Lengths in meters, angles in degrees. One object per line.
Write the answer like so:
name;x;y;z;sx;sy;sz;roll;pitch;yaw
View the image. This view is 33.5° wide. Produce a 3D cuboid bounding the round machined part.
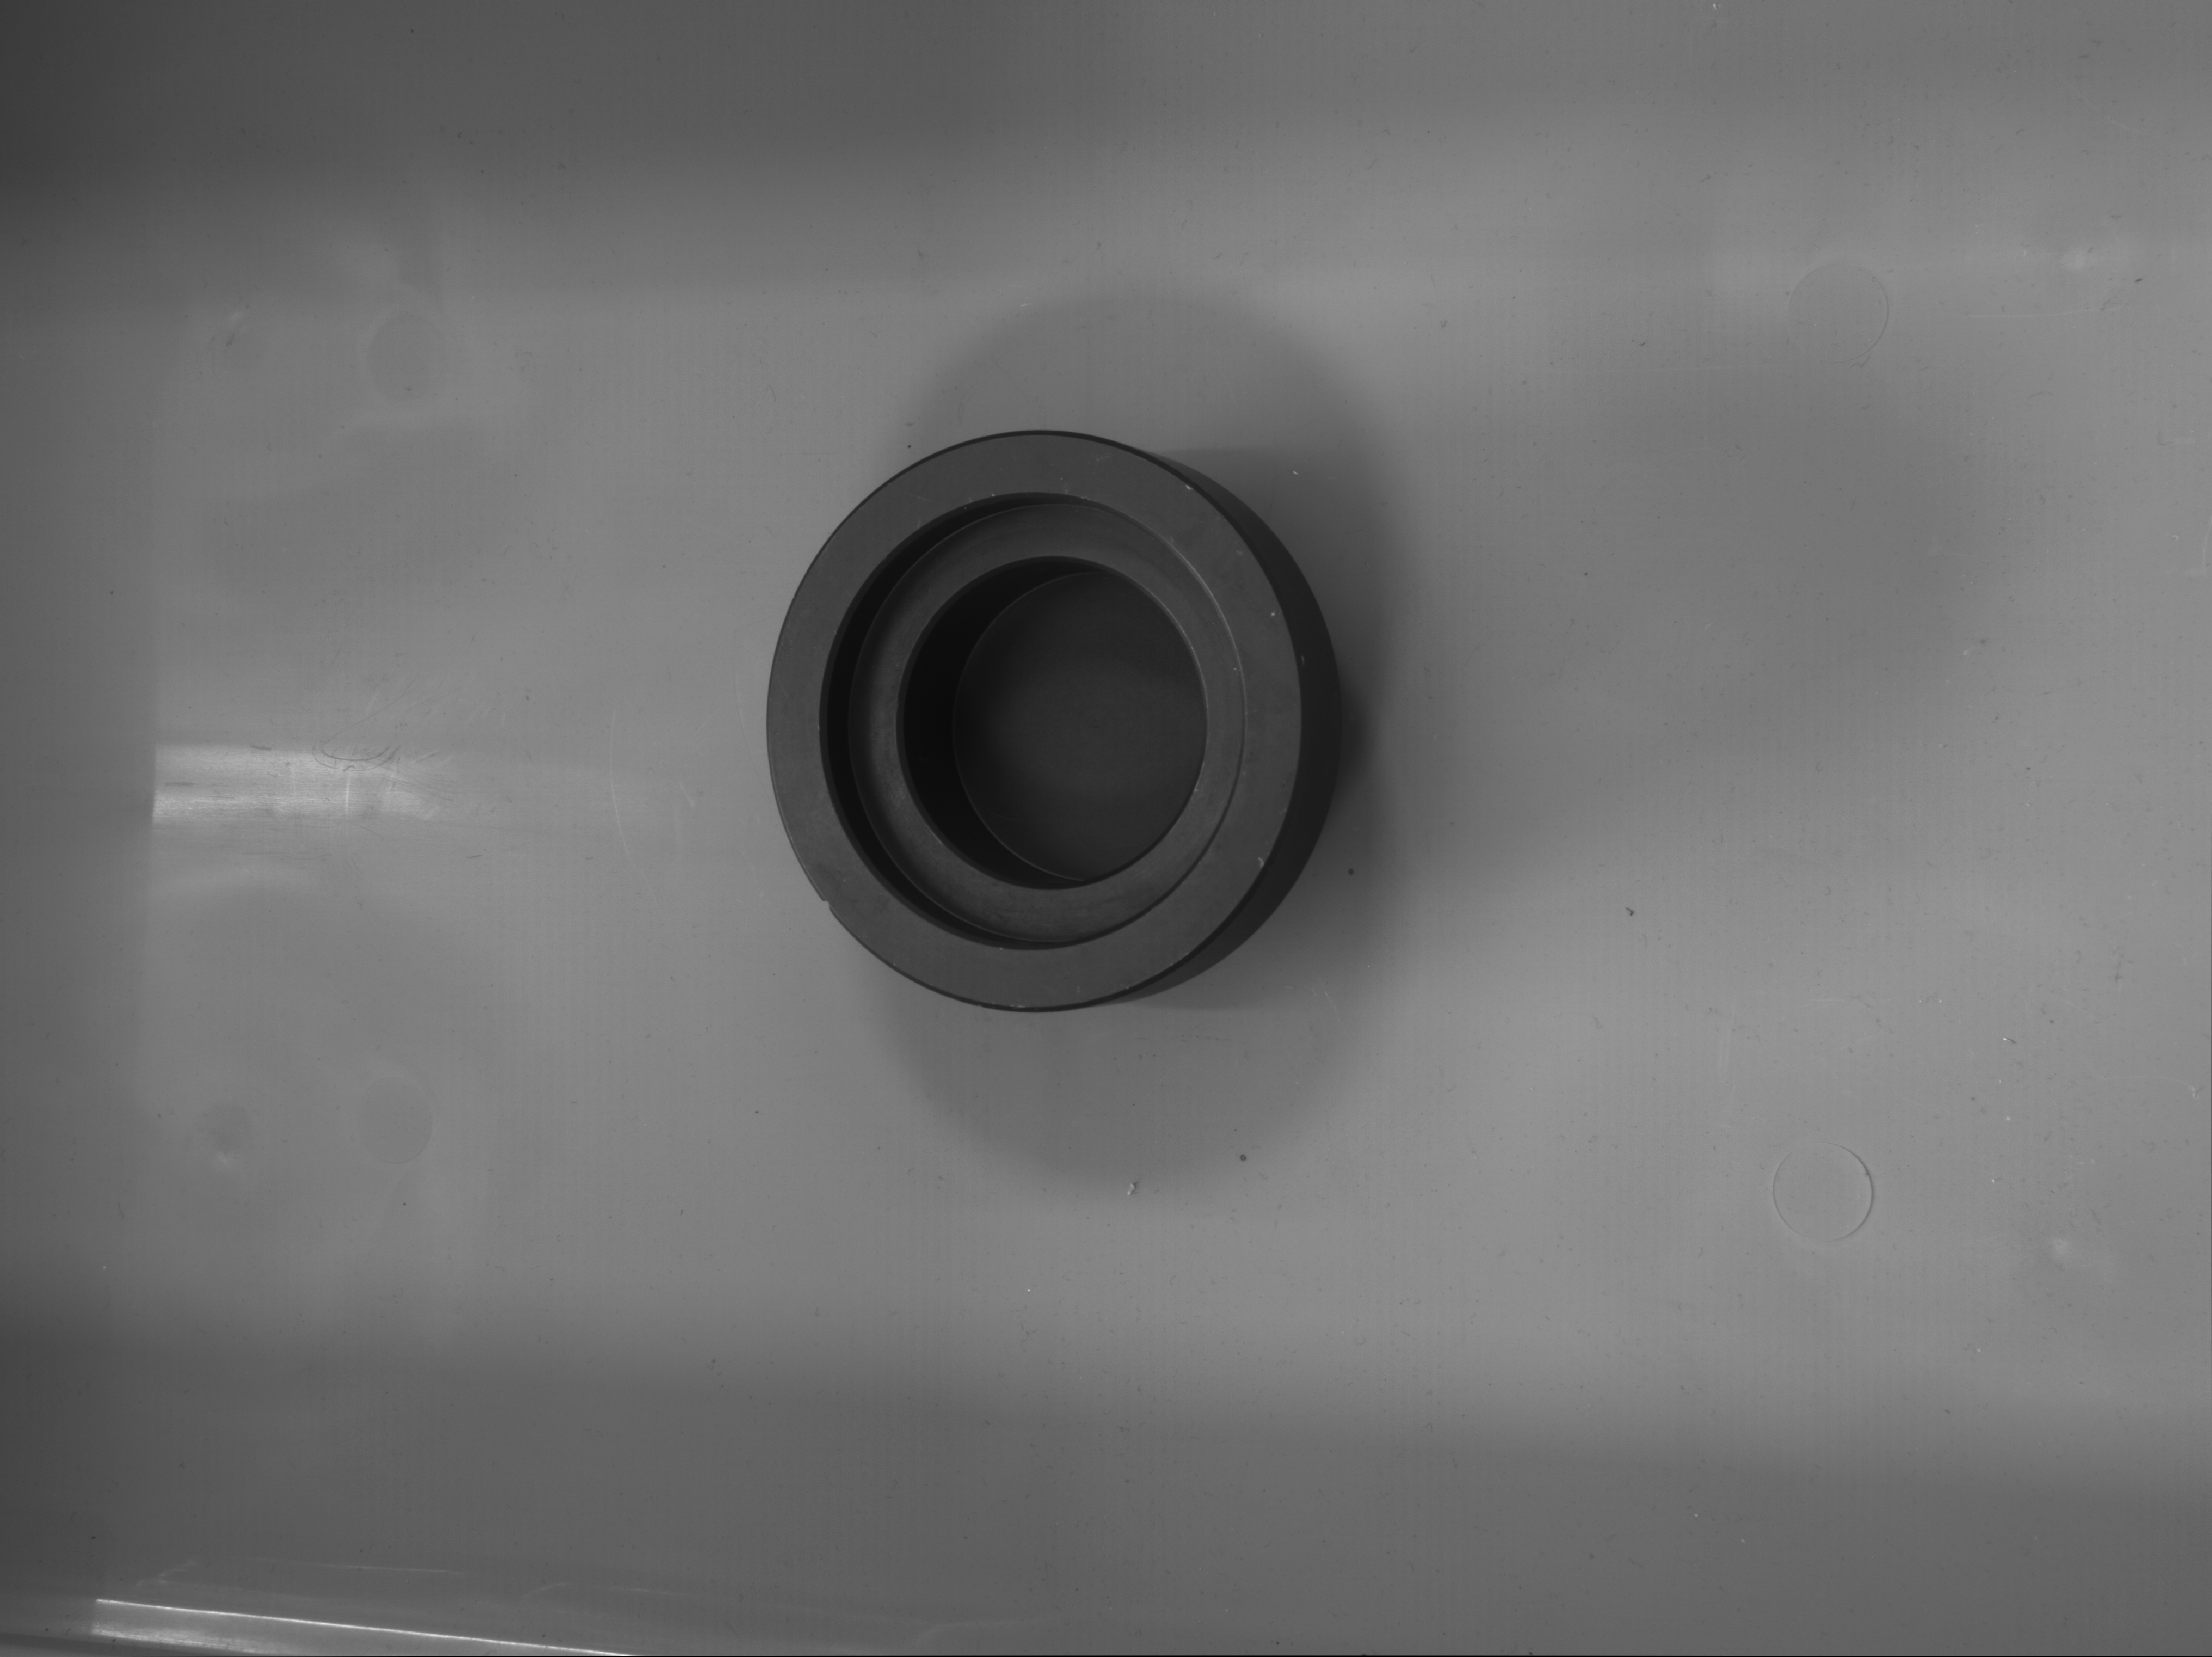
round machined part;-0.006;-0.018;0.637;0.098;0.042;0.098;0;90;20
